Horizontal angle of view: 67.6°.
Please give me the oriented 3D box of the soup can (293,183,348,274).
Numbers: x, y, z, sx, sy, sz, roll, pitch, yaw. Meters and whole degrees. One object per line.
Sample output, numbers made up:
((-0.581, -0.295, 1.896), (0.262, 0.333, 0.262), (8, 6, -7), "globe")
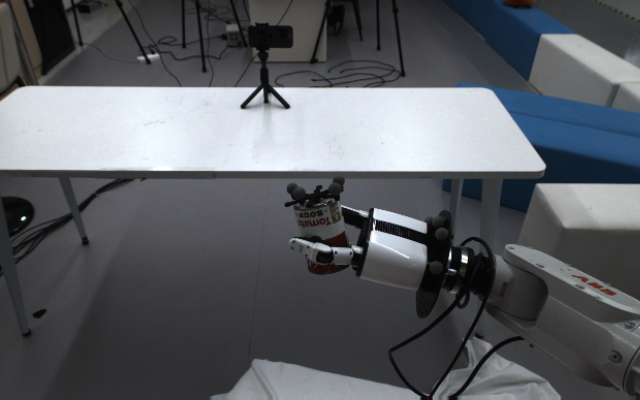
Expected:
((0.006, 0.046, 0.691), (0.067, 0.101, 0.067), (-12, 16, 4), "soup can")
